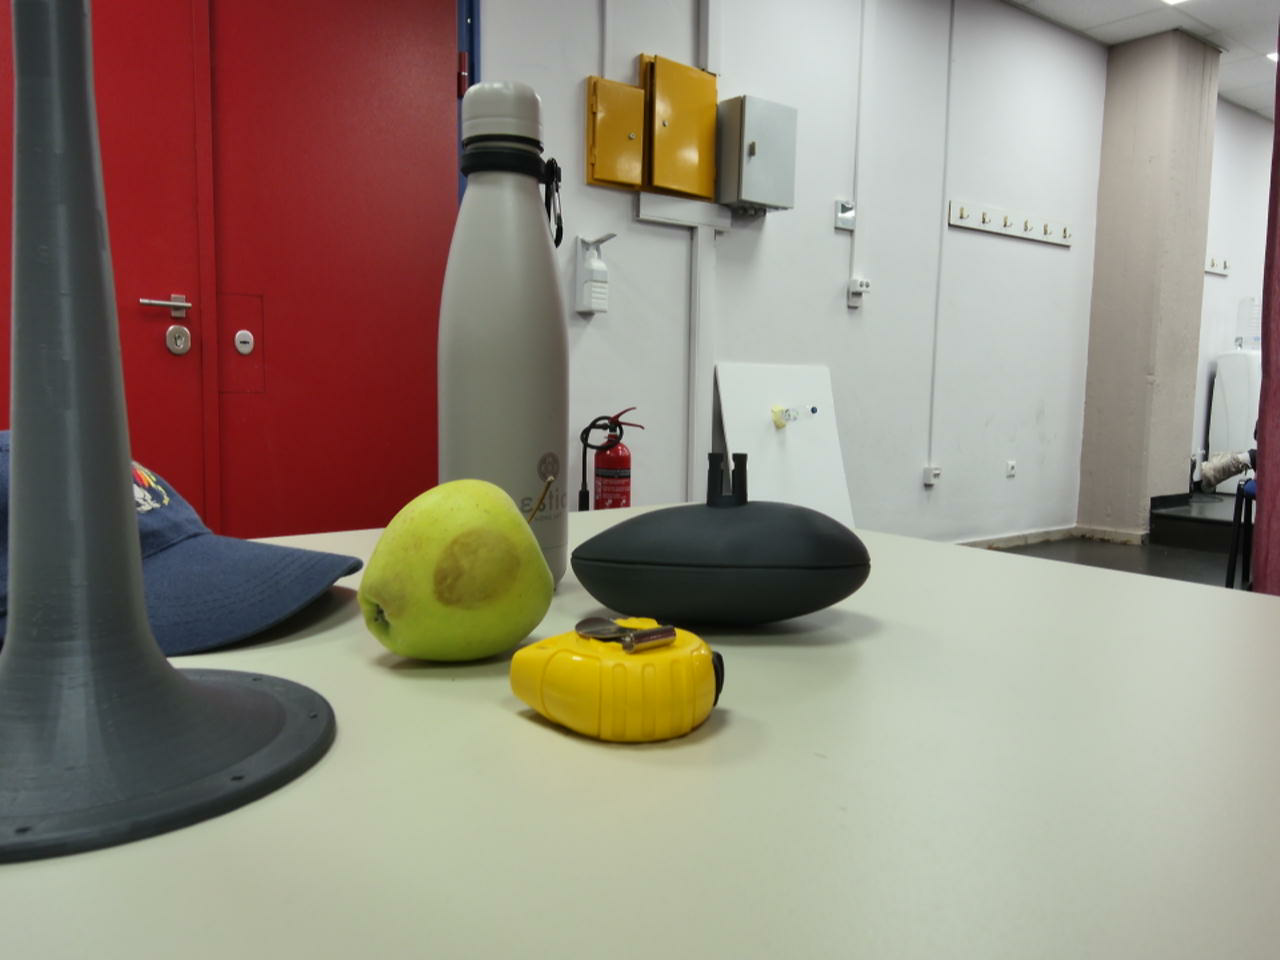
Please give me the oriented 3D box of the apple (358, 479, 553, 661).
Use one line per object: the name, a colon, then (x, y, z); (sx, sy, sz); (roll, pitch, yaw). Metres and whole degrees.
apple: (-0.078, 0.039, 0.432); (0.077, 0.075, 0.072); (1, 4, 6)
